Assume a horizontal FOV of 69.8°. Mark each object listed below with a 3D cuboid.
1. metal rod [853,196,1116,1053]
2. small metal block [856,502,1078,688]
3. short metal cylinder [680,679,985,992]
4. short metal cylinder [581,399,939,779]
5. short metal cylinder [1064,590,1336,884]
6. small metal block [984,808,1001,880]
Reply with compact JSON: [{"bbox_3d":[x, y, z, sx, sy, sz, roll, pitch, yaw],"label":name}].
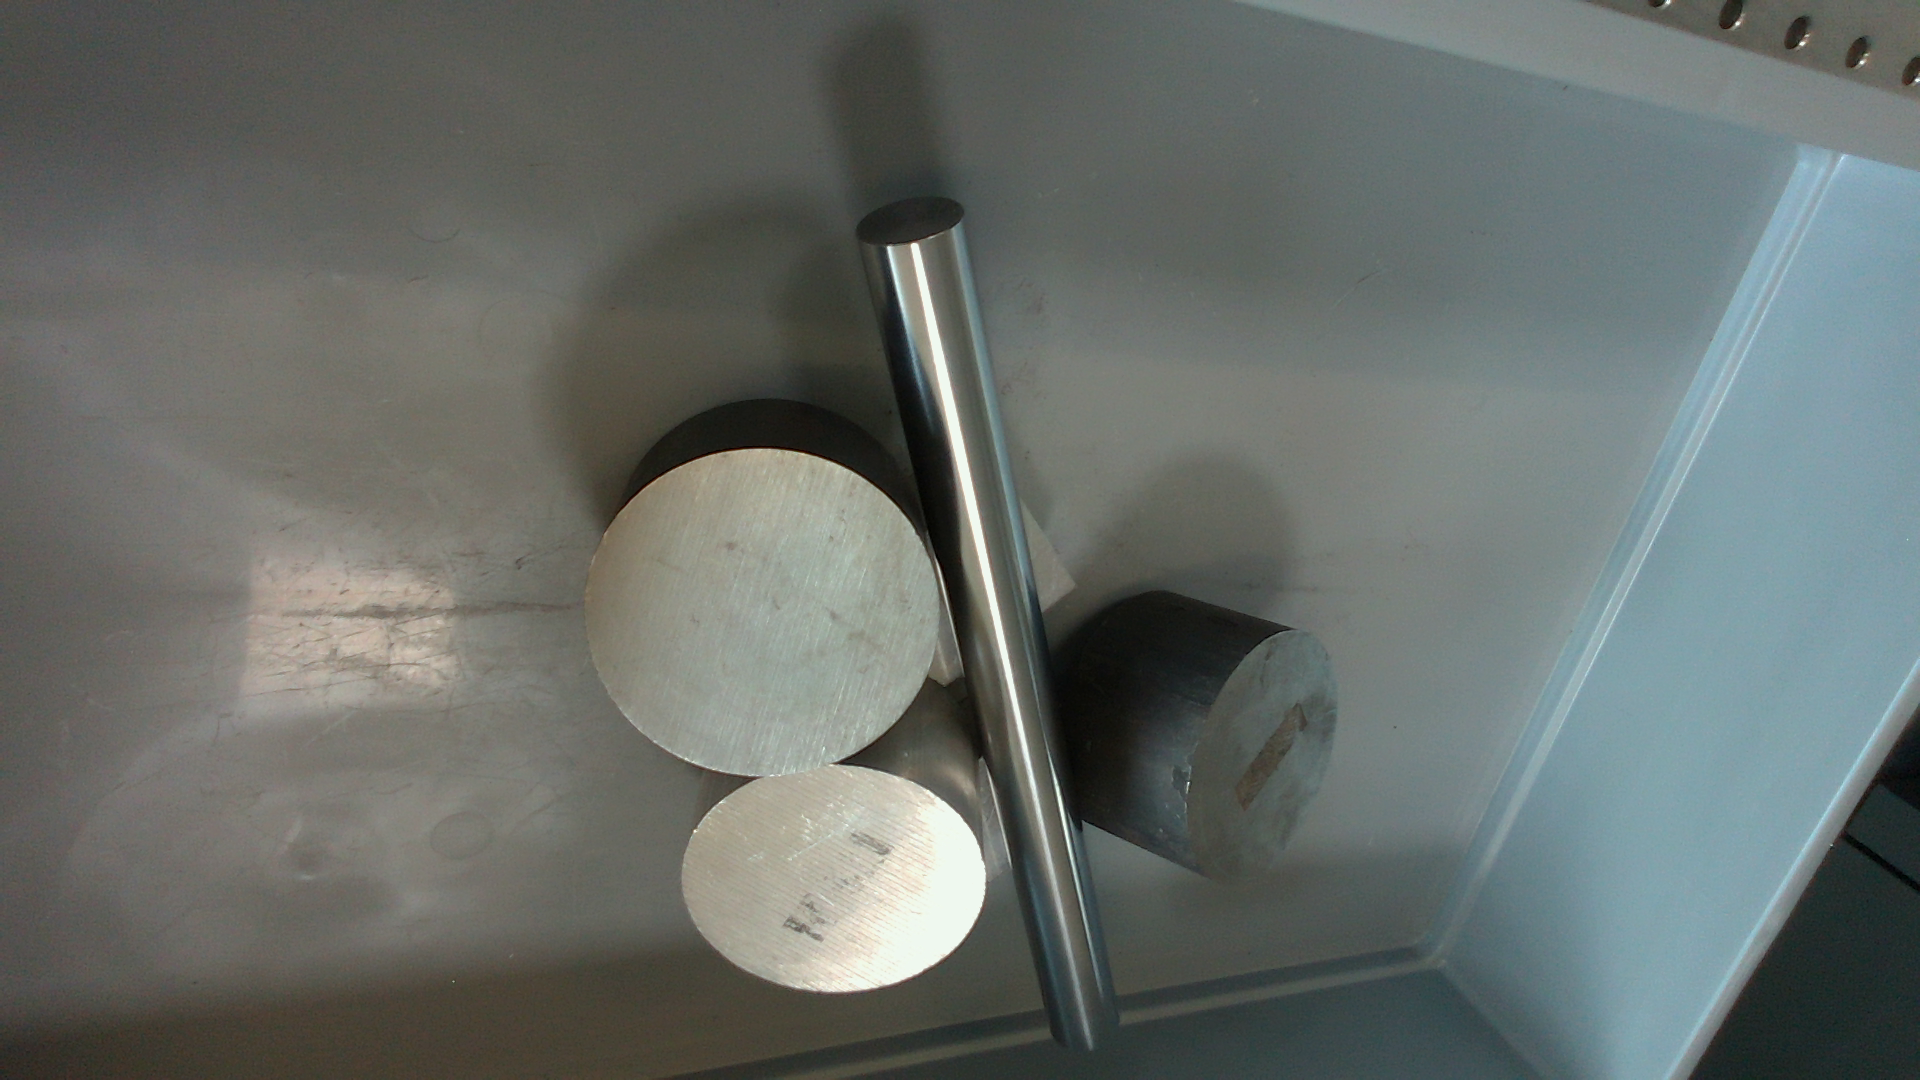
[{"bbox_3d":[0.016,0.048,0.393,0.025,0.025,0.300,-23,127,-14],"label":"metal rod"},{"bbox_3d":[-0.002,0.007,0.391,0.050,0.025,0.050,-37,129,-3],"label":"small metal block"},{"bbox_3d":[-0.034,0.079,0.384,0.080,0.050,0.080,-1,120,-1],"label":"short metal cylinder"},{"bbox_3d":[-0.047,0.010,0.335,0.080,0.050,0.080,-2,109,-6],"label":"short metal cylinder"},{"bbox_3d":[0.075,0.060,0.433,0.080,0.050,0.080,-17,115,-43],"label":"short metal cylinder"},{"bbox_3d":[0.014,0.074,0.441,0.050,0.025,0.050,-35,129,-5],"label":"small metal block"}]
